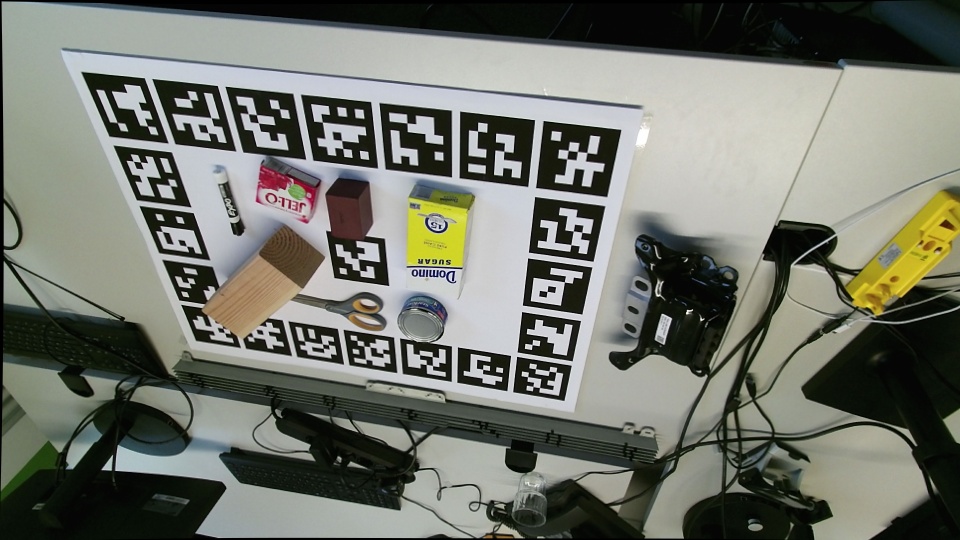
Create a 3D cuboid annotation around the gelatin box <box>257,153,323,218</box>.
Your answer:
[{"bbox_3d":[-0.301,-0.133,0.849,0.089,0.030,0.073,23,125,-6],"label":"gelatin box"}]

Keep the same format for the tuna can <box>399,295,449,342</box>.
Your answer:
[{"bbox_3d":[-0.099,0.087,0.958,0.086,0.033,0.086,5,125,8],"label":"tuna can"}]

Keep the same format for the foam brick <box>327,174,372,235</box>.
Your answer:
[{"bbox_3d":[-0.202,-0.103,0.833,0.053,0.051,0.078,9,125,4],"label":"foam brick"}]

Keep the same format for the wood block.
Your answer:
[{"bbox_3d":[-0.386,0.014,0.937,0.206,0.090,0.090,-34,113,30],"label":"wood block"}]

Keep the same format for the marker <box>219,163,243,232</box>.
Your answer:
[{"bbox_3d":[-0.411,-0.117,0.887,0.020,0.019,0.121,9,124,5],"label":"marker"}]

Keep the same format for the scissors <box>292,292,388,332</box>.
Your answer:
[{"bbox_3d":[-0.269,0.063,0.990,0.203,0.016,0.088,13,126,-1],"label":"scissors"}]

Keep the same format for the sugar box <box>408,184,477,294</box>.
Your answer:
[{"bbox_3d":[-0.063,-0.046,0.856,0.093,0.045,0.176,12,126,4],"label":"sugar box"}]
